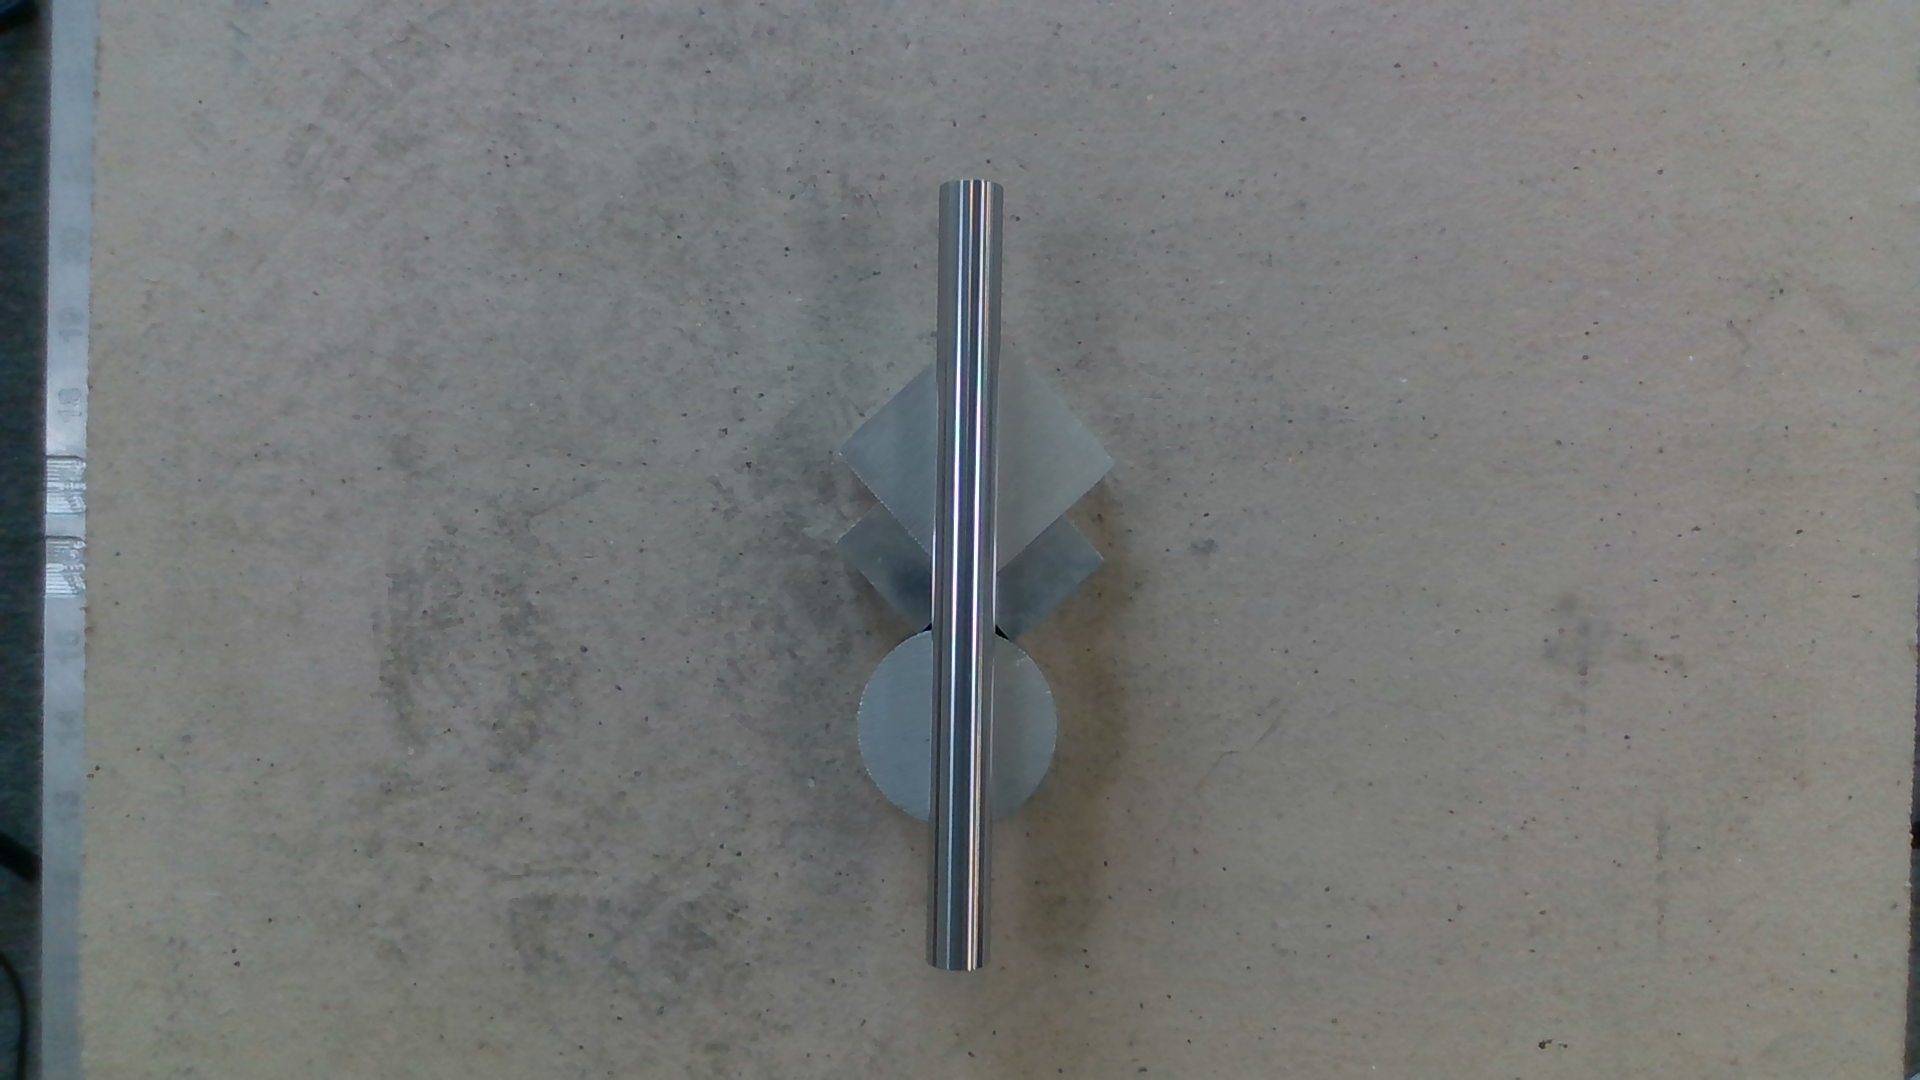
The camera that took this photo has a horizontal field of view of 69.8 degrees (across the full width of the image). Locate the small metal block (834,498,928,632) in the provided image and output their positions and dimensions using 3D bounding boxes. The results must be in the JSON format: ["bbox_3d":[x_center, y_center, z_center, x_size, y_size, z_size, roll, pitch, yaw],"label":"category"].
[{"bbox_3d":[-0.024,0.010,0.576,0.025,0.050,0.050,-42,90,0],"label":"small metal block"}]

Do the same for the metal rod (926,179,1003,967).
[{"bbox_3d":[0.002,0.013,0.536,0.025,0.025,0.300,1,91,0],"label":"metal rod"}]

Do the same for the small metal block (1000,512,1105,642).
[{"bbox_3d":[0.031,0.015,0.576,0.050,0.050,0.025,-42,90,1],"label":"small metal block"}]

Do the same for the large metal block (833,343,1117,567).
[{"bbox_3d":[0.006,-0.034,0.573,0.080,0.050,0.080,-42,90,0],"label":"large metal block"}]

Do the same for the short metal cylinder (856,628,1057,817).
[{"bbox_3d":[-0.001,0.074,0.575,0.080,0.050,0.080,0,90,0],"label":"short metal cylinder"}]
